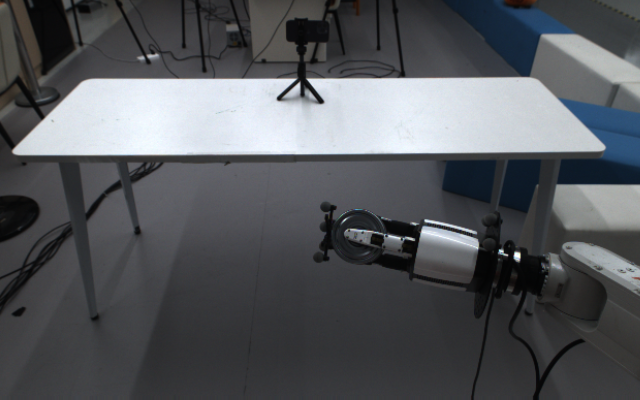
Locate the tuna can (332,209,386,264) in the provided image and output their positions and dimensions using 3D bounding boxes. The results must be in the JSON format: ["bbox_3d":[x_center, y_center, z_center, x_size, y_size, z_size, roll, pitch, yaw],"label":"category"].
[{"bbox_3d":[0.064,0.059,0.742,0.085,0.085,0.034,9,-6,10],"label":"tuna can"}]
